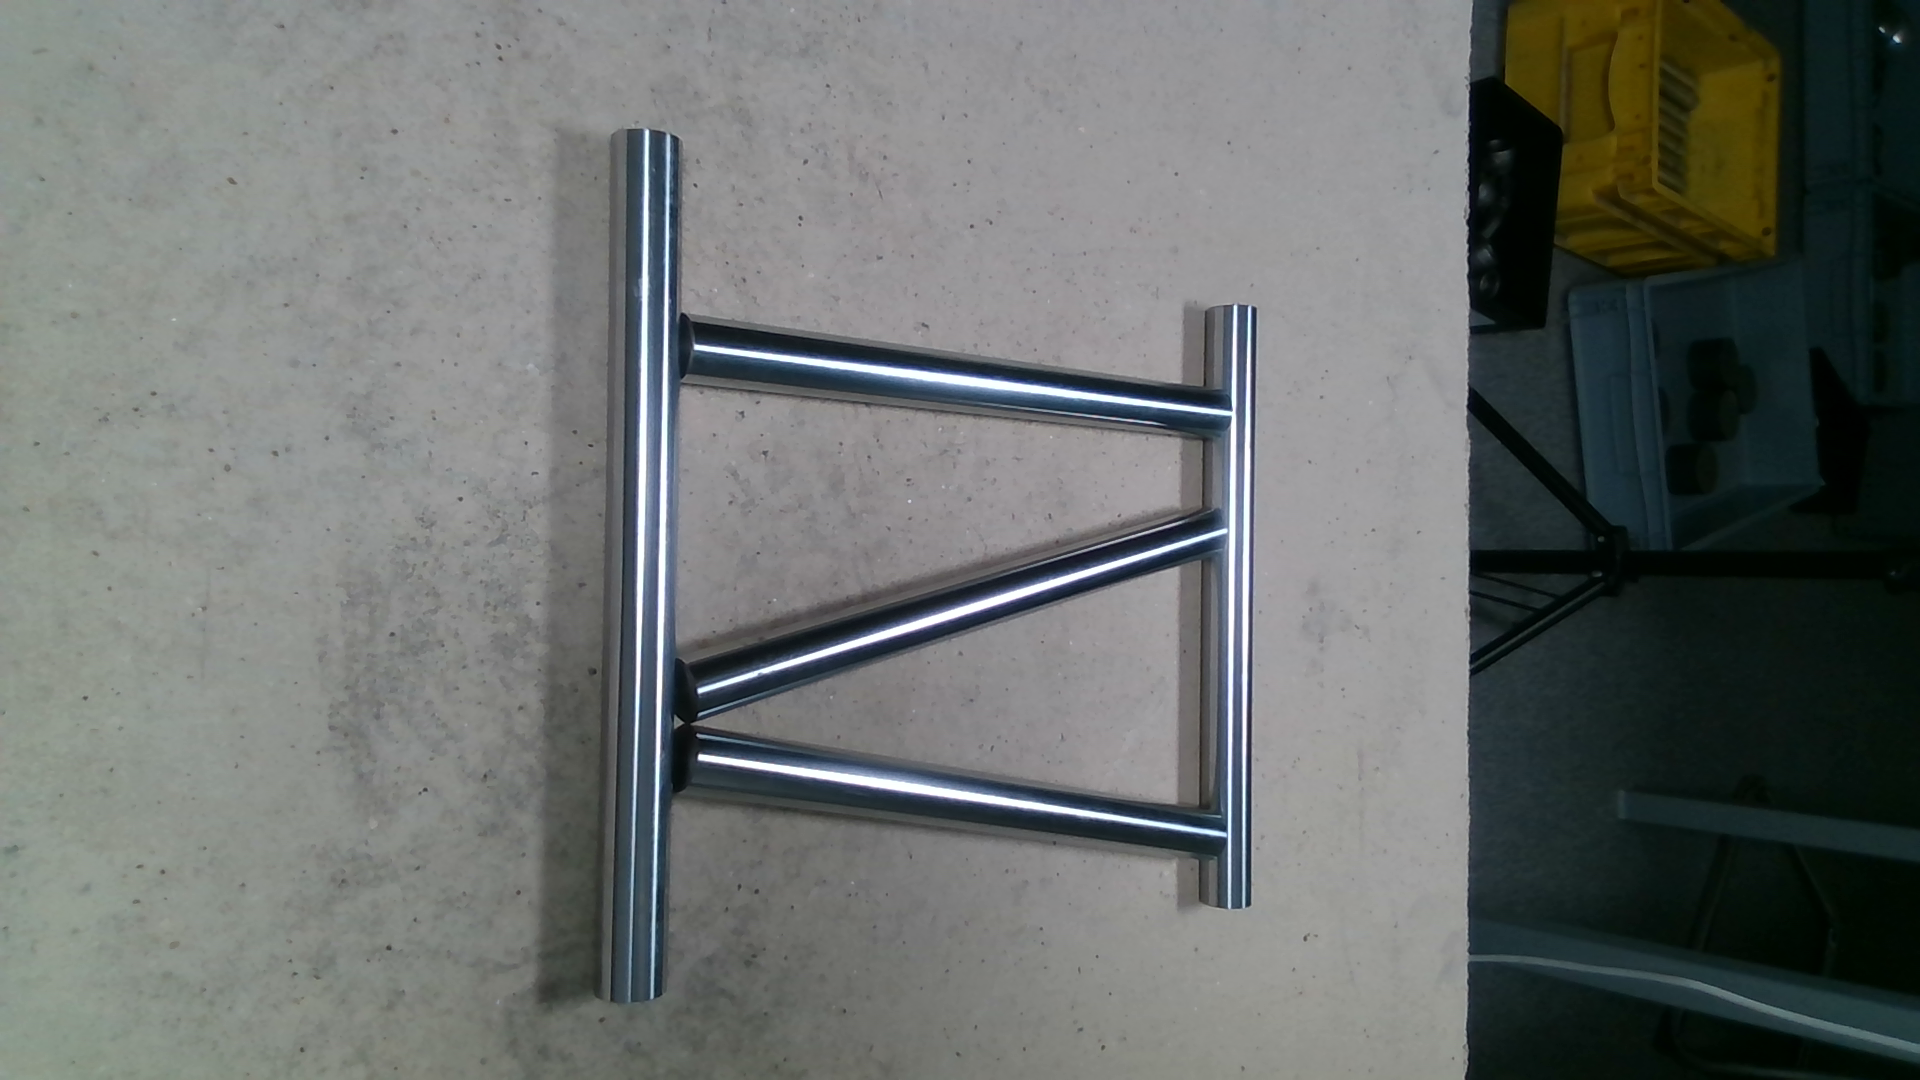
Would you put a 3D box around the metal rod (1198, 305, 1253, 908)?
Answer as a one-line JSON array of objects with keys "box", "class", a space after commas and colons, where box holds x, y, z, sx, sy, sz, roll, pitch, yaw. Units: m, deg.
[{"box": [0.135, 0.033, 0.697, 0.025, 0.025, 0.300, 1, 89, -40], "class": "metal rod"}]

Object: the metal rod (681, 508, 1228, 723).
[{"box": [0.011, 0.025, 0.592, 0.300, 0.025, 0.025, -15, 99, -39], "class": "metal rod"}]

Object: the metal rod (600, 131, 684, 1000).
[{"box": [-0.112, 0.009, 0.487, 0.025, 0.025, 0.300, 1, 89, -40], "class": "metal rod"}]

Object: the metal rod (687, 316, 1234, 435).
[{"box": [0.013, -0.066, 0.593, 0.300, 0.025, 0.025, 1, 89, -40], "class": "metal rod"}]

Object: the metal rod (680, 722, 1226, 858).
[{"box": [0.011, 0.112, 0.592, 0.300, 0.025, 0.025, 17, 79, -39], "class": "metal rod"}]
